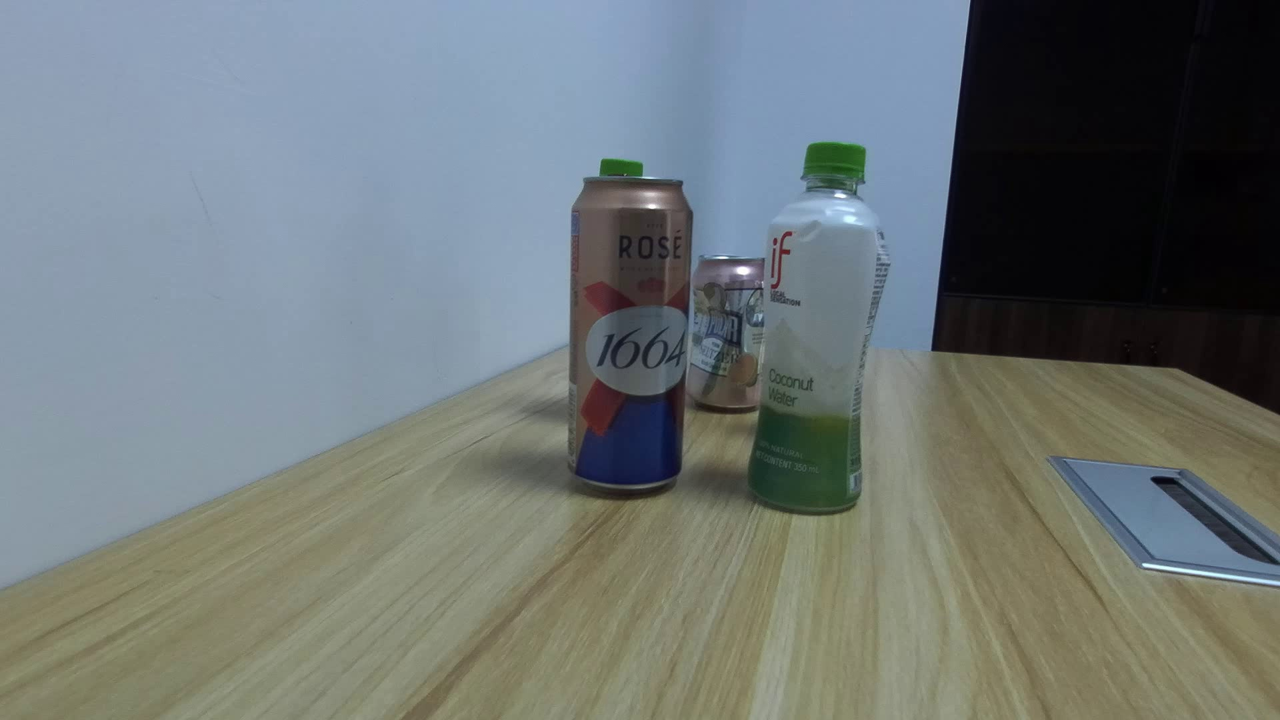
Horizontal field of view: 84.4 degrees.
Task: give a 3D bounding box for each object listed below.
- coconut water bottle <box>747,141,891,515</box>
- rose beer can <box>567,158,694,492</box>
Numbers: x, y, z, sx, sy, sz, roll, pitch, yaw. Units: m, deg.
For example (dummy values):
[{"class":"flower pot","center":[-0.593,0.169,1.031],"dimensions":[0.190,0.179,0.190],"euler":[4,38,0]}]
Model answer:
[{"class":"coconut water bottle","center":[0.096,-0.017,0.379],"dimensions":[0.069,0.186,0.069],"euler":[2,8,0]},{"class":"rose beer can","center":[-0.006,-0.013,0.399],"dimensions":[0.068,0.169,0.068],"euler":[1,10,0]}]
